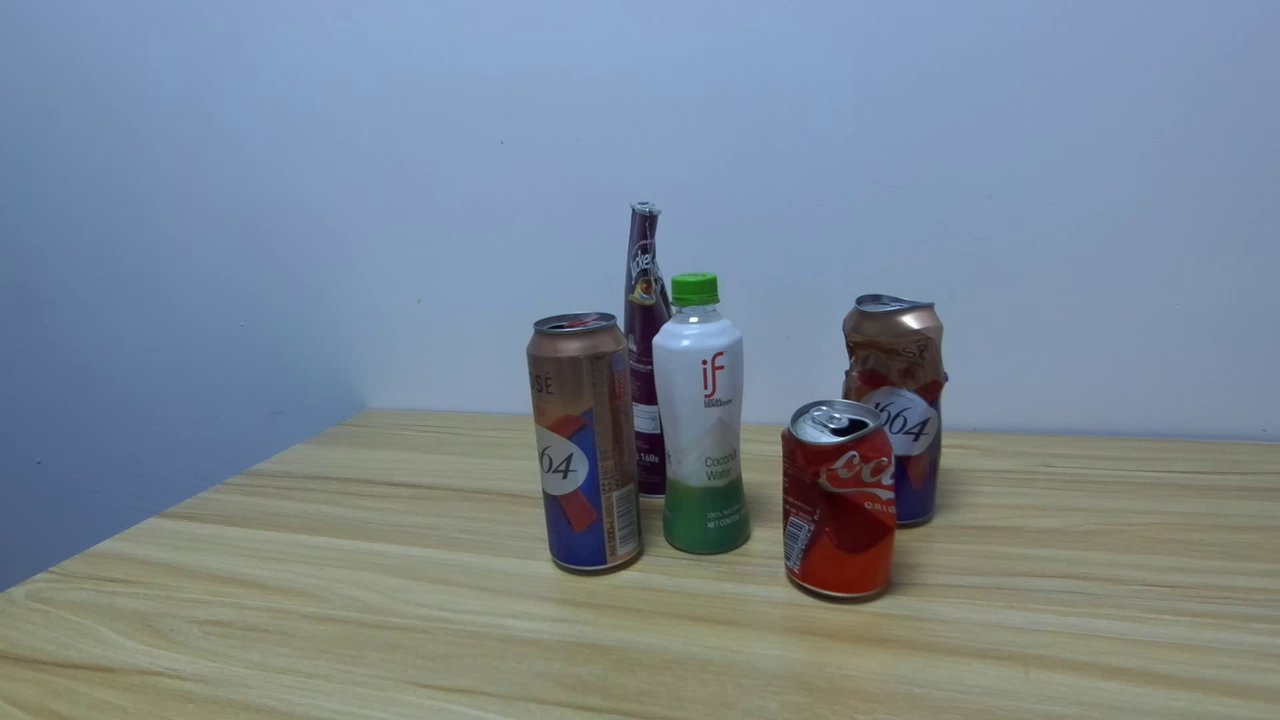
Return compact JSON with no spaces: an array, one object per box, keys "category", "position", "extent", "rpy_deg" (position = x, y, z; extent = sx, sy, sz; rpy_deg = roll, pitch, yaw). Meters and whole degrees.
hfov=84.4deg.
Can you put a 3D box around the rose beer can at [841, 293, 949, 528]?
[{"category":"rose beer can","position":[0.181,0.036,0.511],"extent":[0.073,0.162,0.068],"rpy_deg":[4,16,21]}]

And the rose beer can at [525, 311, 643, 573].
[{"category":"rose beer can","position":[-0.036,0.058,0.481],"extent":[0.068,0.169,0.068],"rpy_deg":[-4,14,1]}]

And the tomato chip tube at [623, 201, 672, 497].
[{"category":"tomato chip tube","position":[0.017,-0.008,0.578],"extent":[0.077,0.236,0.090],"rpy_deg":[10,20,40]}]

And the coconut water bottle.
[{"category":"coconut water bottle","position":[0.042,0.036,0.490],"extent":[0.063,0.188,0.063],"rpy_deg":[-4,14,1]}]
